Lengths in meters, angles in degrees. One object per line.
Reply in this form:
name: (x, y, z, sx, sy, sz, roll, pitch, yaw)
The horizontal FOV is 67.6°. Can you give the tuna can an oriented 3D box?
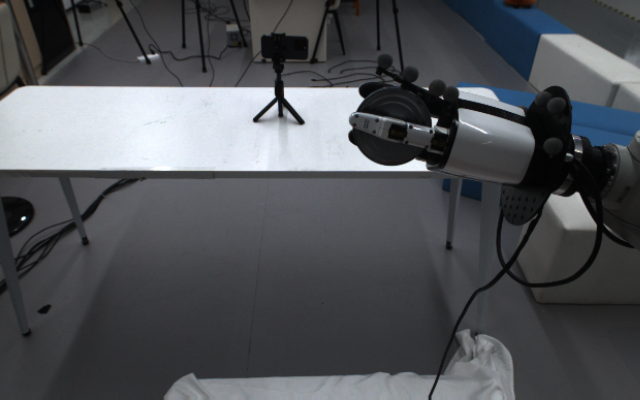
tuna can: (0.082, -0.084, 0.545, 0.085, 0.085, 0.034, 7, 17, 7)
